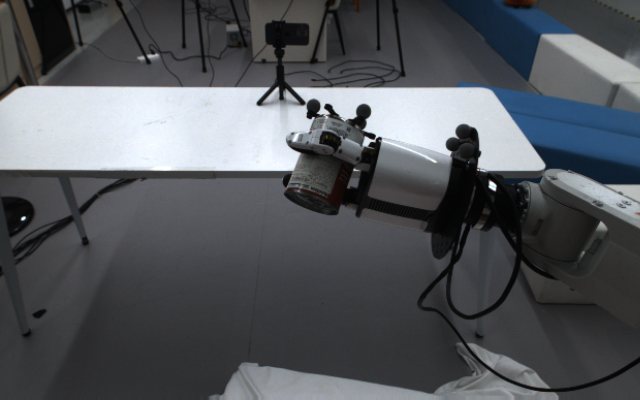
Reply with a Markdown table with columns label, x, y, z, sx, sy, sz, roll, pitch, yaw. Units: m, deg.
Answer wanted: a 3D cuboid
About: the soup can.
| label | x | y | z | sx | sy | sz | roll | pitch | yaw |
| --- | --- | --- | --- | --- | --- | --- | --- | --- | --- |
| soup can | 0.008 | -0.041 | 0.576 | 0.067 | 0.067 | 0.101 | 15 | 75 | 18 |
